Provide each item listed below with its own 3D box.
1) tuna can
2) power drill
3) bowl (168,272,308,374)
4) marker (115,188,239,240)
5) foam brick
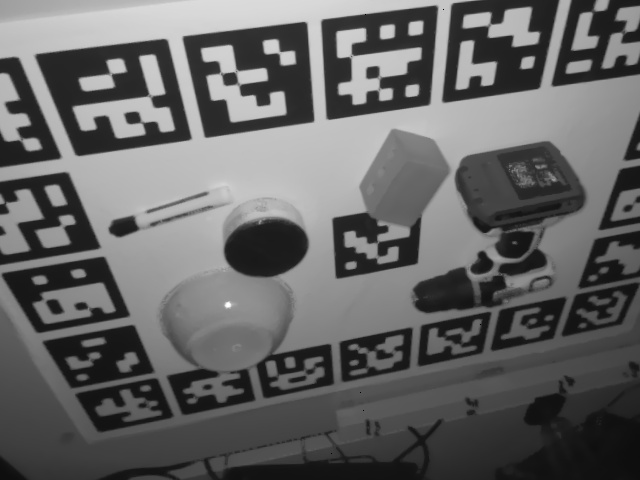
[{"bbox_3d":[-0.049,0.003,0.707,0.086,0.034,0.085,-6,133,-6],"label":"tuna can"},{"bbox_3d":[0.212,-0.001,0.763,0.185,0.057,0.185,-9,136,-2],"label":"power drill"},{"bbox_3d":[-0.088,0.105,0.790,0.163,0.055,0.160,-11,140,-9],"label":"bowl"},{"bbox_3d":[-0.138,-0.024,0.668,0.121,0.020,0.019,-17,132,1],"label":"marker"},{"bbox_3d":[0.089,-0.065,0.679,0.052,0.053,0.077,9,127,-20],"label":"foam brick"}]
